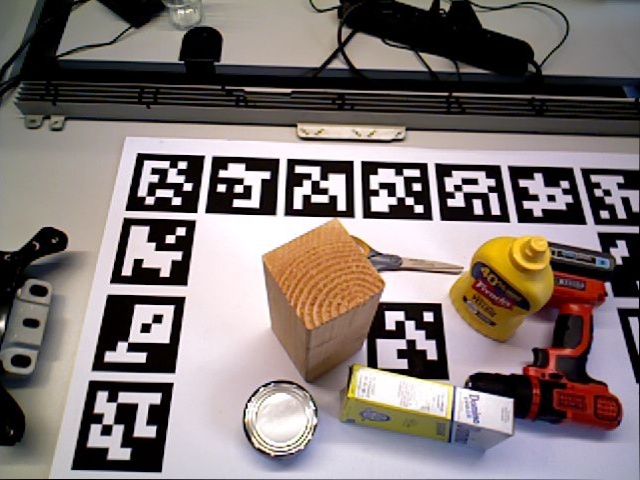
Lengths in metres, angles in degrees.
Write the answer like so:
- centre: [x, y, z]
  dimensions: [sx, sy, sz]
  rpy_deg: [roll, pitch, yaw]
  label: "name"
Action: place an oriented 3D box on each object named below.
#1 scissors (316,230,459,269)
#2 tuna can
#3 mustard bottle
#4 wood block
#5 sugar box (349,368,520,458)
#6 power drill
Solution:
- centre: [0.082, 0.029, 0.710]
  dimensions: [0.202, 0.016, 0.086]
  rpy_deg: [4, 60, 0]
  label: "scissors"
- centre: [-0.040, 0.204, 0.607]
  dimensions: [0.085, 0.034, 0.085]
  rpy_deg: [1, 64, -3]
  label: "tuna can"
- centre: [0.224, 0.051, 0.615]
  dimensions: [0.057, 0.195, 0.096]
  rpy_deg: [-36, 71, -19]
  label: "mustard bottle"
- centre: [0.005, 0.075, 0.589]
  dimensions: [0.090, 0.210, 0.089]
  rpy_deg: [-24, 67, -15]
  label: "wood block"
- centre: [0.126, 0.190, 0.591]
  dimensions: [0.176, 0.095, 0.044]
  rpy_deg: [13, 59, 2]
  label: "sugar box"
- centre: [0.267, 0.125, 0.646]
  dimensions: [0.184, 0.058, 0.185]
  rpy_deg: [13, 71, 5]
  label: "power drill"
